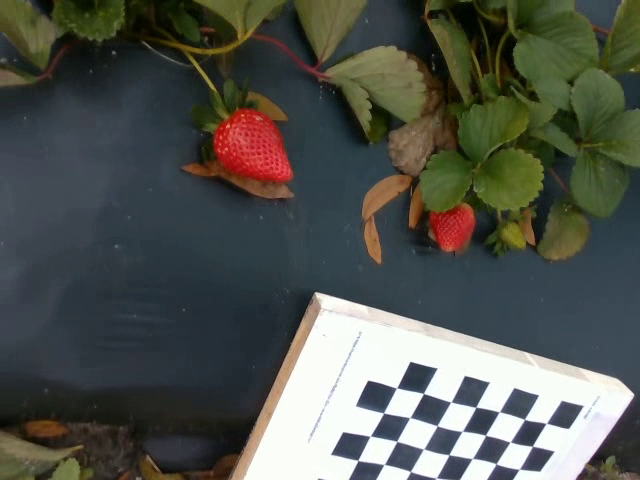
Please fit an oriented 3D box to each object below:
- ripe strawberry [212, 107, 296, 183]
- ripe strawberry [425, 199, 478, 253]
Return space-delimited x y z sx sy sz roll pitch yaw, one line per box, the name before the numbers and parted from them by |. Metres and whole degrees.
ripe strawberry | -0.038 -0.053 0.360 0.065 0.047 0.042 40 21 26
ripe strawberry | 0.098 -0.005 0.417 0.040 0.042 0.037 28 -33 -24
